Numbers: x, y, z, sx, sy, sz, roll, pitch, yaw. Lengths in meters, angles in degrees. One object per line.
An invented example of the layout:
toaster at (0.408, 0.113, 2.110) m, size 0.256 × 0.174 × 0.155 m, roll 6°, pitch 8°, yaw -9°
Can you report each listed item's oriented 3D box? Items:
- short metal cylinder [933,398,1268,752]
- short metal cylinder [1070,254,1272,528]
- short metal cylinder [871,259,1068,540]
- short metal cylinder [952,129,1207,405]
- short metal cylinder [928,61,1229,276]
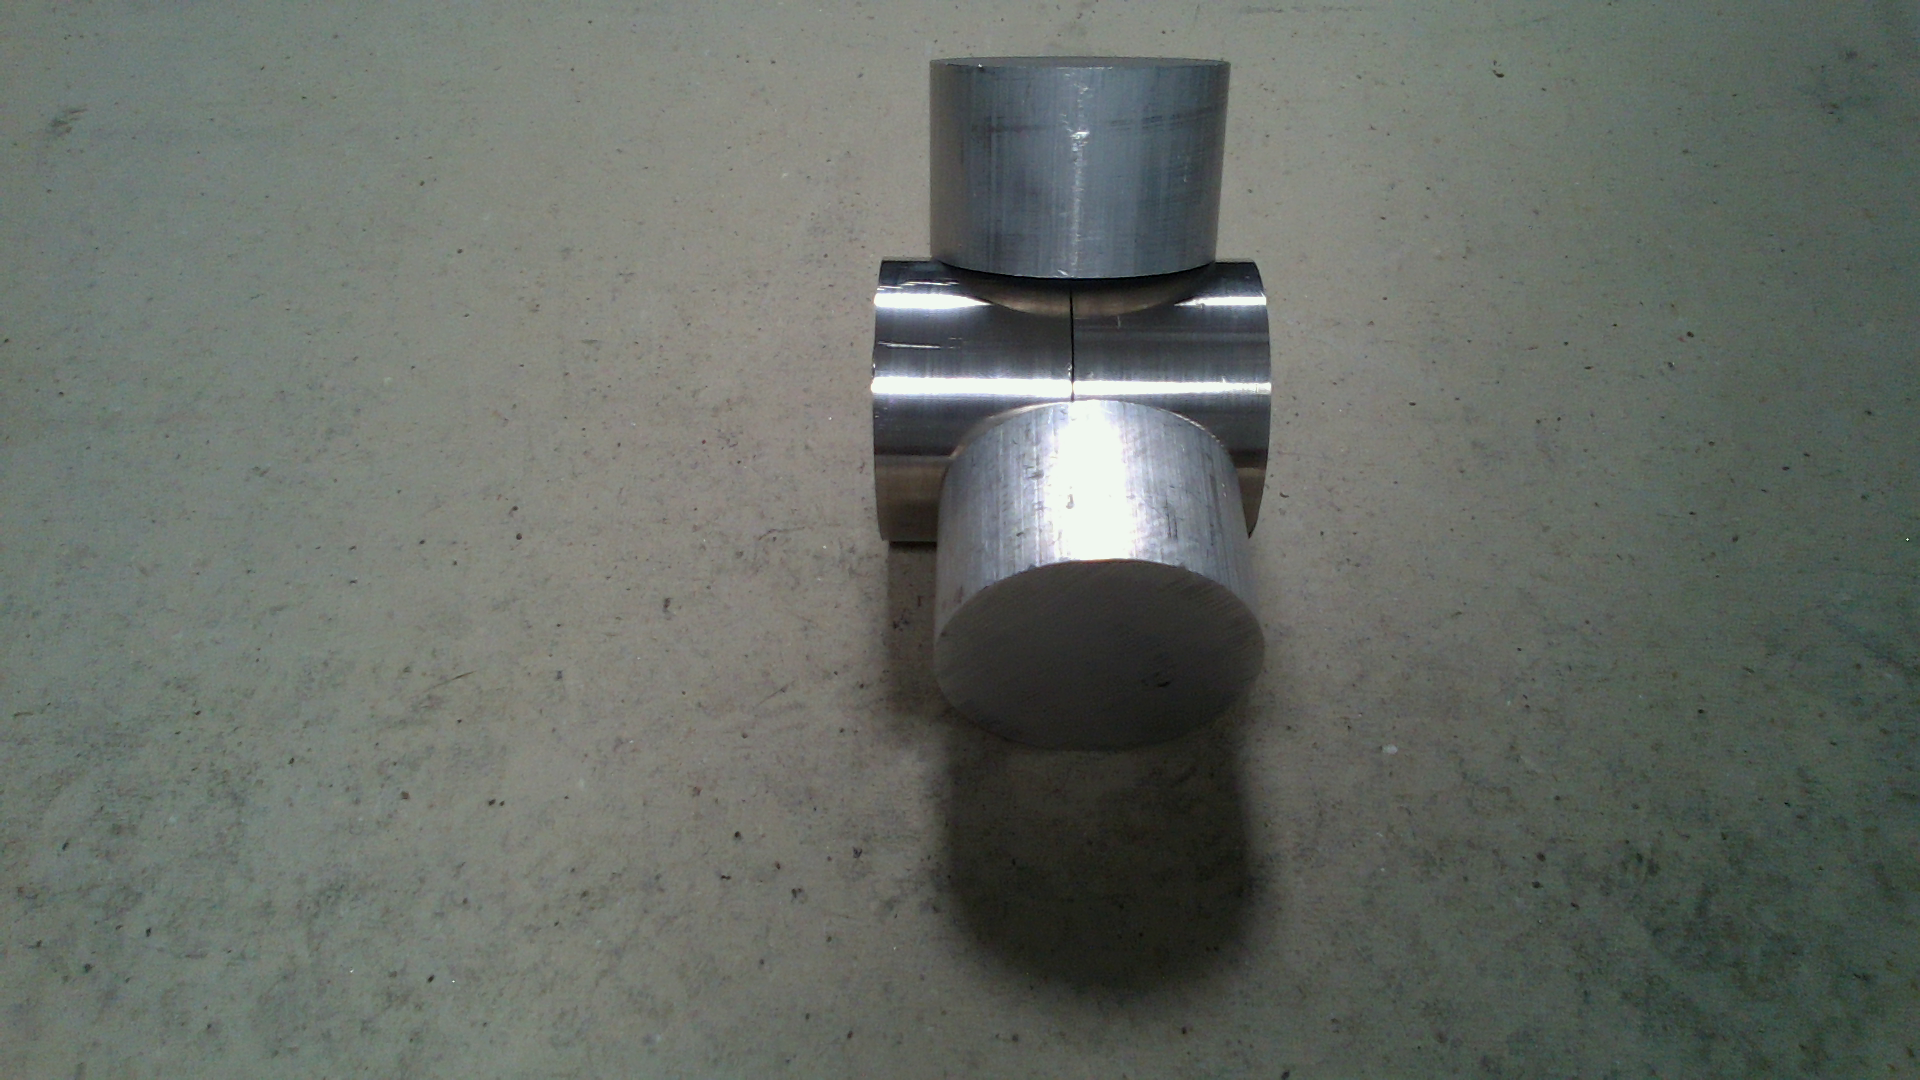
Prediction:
short metal cylinder at (0.034, 0.011, 0.347) m, size 0.080 × 0.080 × 0.050 m, roll 0°, pitch 50°, yaw 0°
short metal cylinder at (0.055, -0.040, 0.389) m, size 0.050 × 0.080 × 0.080 m, roll 0°, pitch 50°, yaw 1°
short metal cylinder at (0.003, -0.039, 0.390) m, size 0.050 × 0.080 × 0.080 m, roll 1°, pitch 50°, yaw 1°
short metal cylinder at (0.038, -0.091, 0.453) m, size 0.080 × 0.050 × 0.080 m, roll 0°, pitch 50°, yaw 0°
short metal cylinder at (0.031, -0.105, 0.377) m, size 0.080 × 0.050 × 0.080 m, roll 0°, pitch 21°, yaw 0°
